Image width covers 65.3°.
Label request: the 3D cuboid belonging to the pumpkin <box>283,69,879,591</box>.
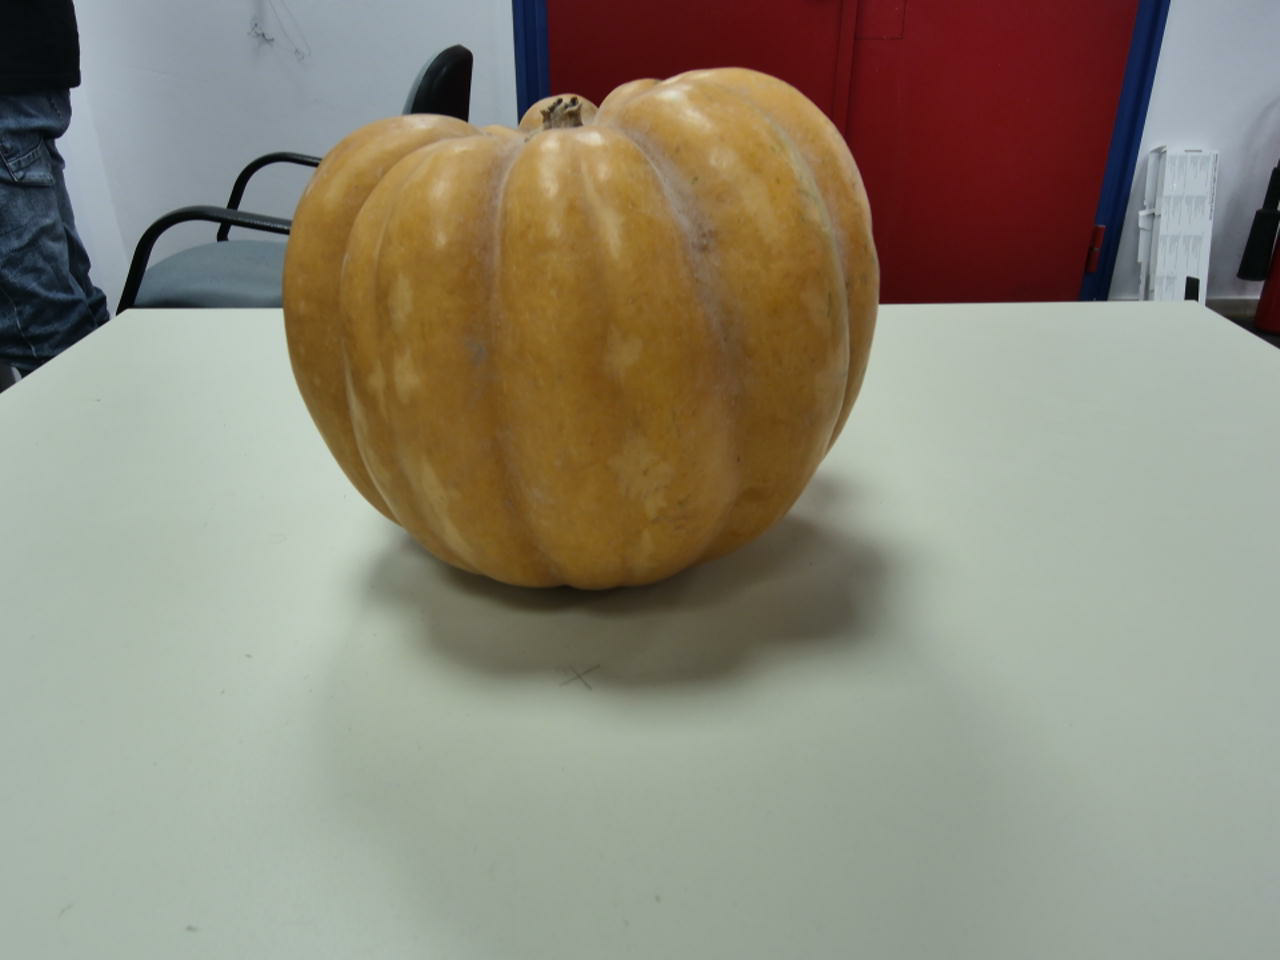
[{"bbox_3d":[-0.019,-0.061,0.404,0.230,0.194,0.230,0,25,0],"label":"pumpkin"}]
